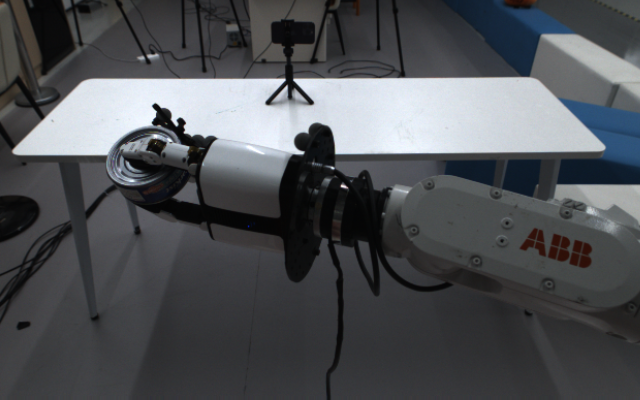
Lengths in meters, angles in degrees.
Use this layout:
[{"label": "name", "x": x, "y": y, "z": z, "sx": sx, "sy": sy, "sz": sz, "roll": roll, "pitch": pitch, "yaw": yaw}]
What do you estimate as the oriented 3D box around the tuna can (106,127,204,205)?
[{"label": "tuna can", "x": -0.183, "y": -0.033, "z": 0.528, "sx": 0.085, "sy": 0.034, "sz": 0.085, "roll": -4, "pitch": 58, "yaw": 6}]
